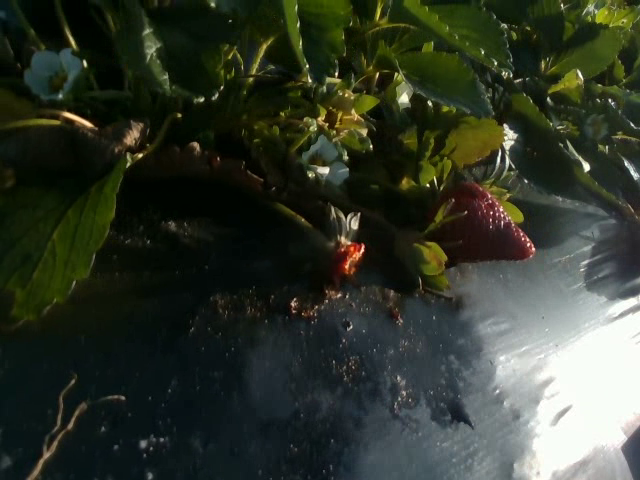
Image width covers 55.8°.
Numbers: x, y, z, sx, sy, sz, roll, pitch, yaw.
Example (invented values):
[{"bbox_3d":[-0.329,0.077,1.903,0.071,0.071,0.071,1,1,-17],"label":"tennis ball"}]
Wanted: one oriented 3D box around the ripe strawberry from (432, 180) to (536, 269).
[{"bbox_3d":[0.084,-0.004,0.299,0.051,0.041,0.052,28,51,32],"label":"ripe strawberry"}]
